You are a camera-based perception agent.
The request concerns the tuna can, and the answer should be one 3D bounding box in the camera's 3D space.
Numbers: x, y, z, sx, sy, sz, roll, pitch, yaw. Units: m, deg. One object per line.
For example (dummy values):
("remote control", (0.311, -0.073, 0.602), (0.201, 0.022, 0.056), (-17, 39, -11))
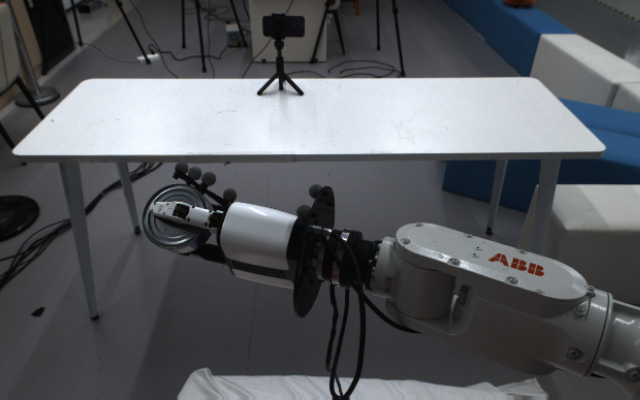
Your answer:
("tuna can", (-0.179, 0.026, 0.620), (0.085, 0.034, 0.085), (-2, 70, 6))
